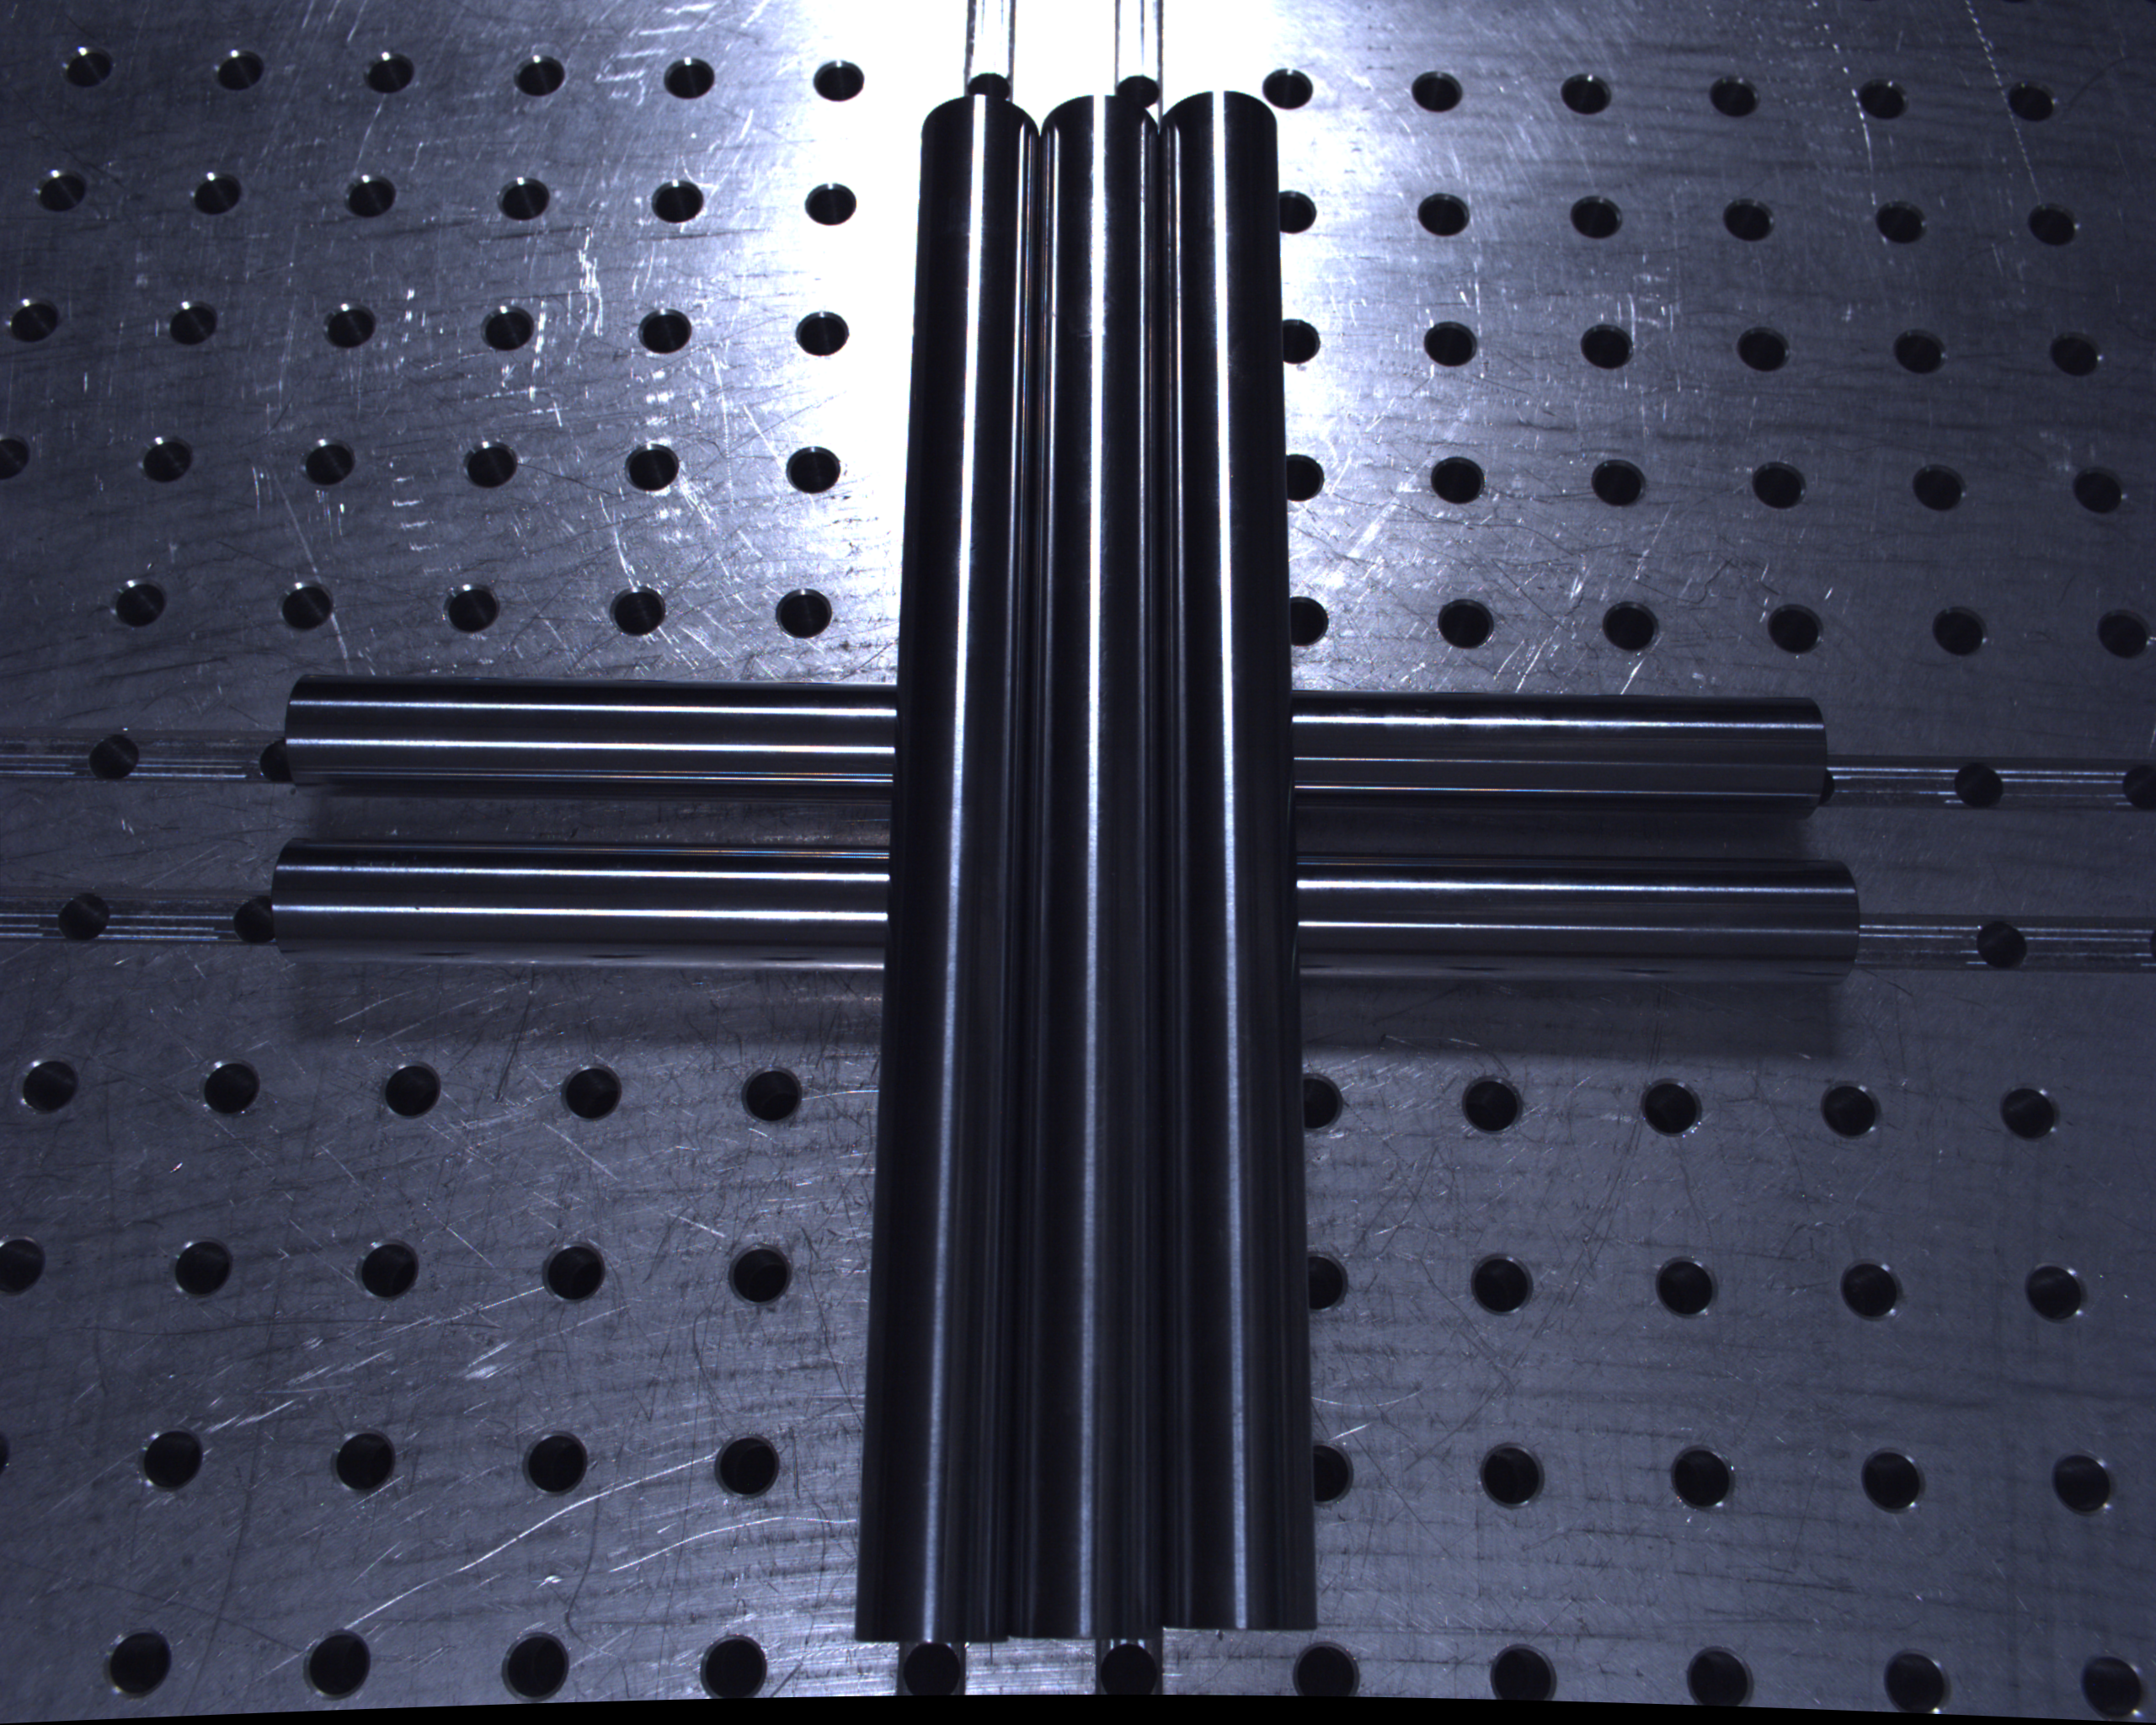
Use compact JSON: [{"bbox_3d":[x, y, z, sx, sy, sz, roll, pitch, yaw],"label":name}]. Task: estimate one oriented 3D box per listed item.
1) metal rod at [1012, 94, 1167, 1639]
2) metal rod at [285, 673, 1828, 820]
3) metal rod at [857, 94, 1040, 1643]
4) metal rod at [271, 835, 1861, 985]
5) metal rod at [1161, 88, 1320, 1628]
[{"bbox_3d":[0.003,-0.014,0.391,0.025,0.025,0.299,1,70,0],"label":"metal rod"},{"bbox_3d":[-0.004,-0.023,0.420,0.302,0.025,0.025,1,70,0],"label":"metal rod"},{"bbox_3d":[-0.022,-0.014,0.390,0.025,0.025,0.299,1,70,0],"label":"metal rod"},{"bbox_3d":[-0.002,0.009,0.408,0.302,0.025,0.025,1,70,0],"label":"metal rod"},{"bbox_3d":[0.028,-0.016,0.392,0.025,0.025,0.299,1,70,0],"label":"metal rod"}]
